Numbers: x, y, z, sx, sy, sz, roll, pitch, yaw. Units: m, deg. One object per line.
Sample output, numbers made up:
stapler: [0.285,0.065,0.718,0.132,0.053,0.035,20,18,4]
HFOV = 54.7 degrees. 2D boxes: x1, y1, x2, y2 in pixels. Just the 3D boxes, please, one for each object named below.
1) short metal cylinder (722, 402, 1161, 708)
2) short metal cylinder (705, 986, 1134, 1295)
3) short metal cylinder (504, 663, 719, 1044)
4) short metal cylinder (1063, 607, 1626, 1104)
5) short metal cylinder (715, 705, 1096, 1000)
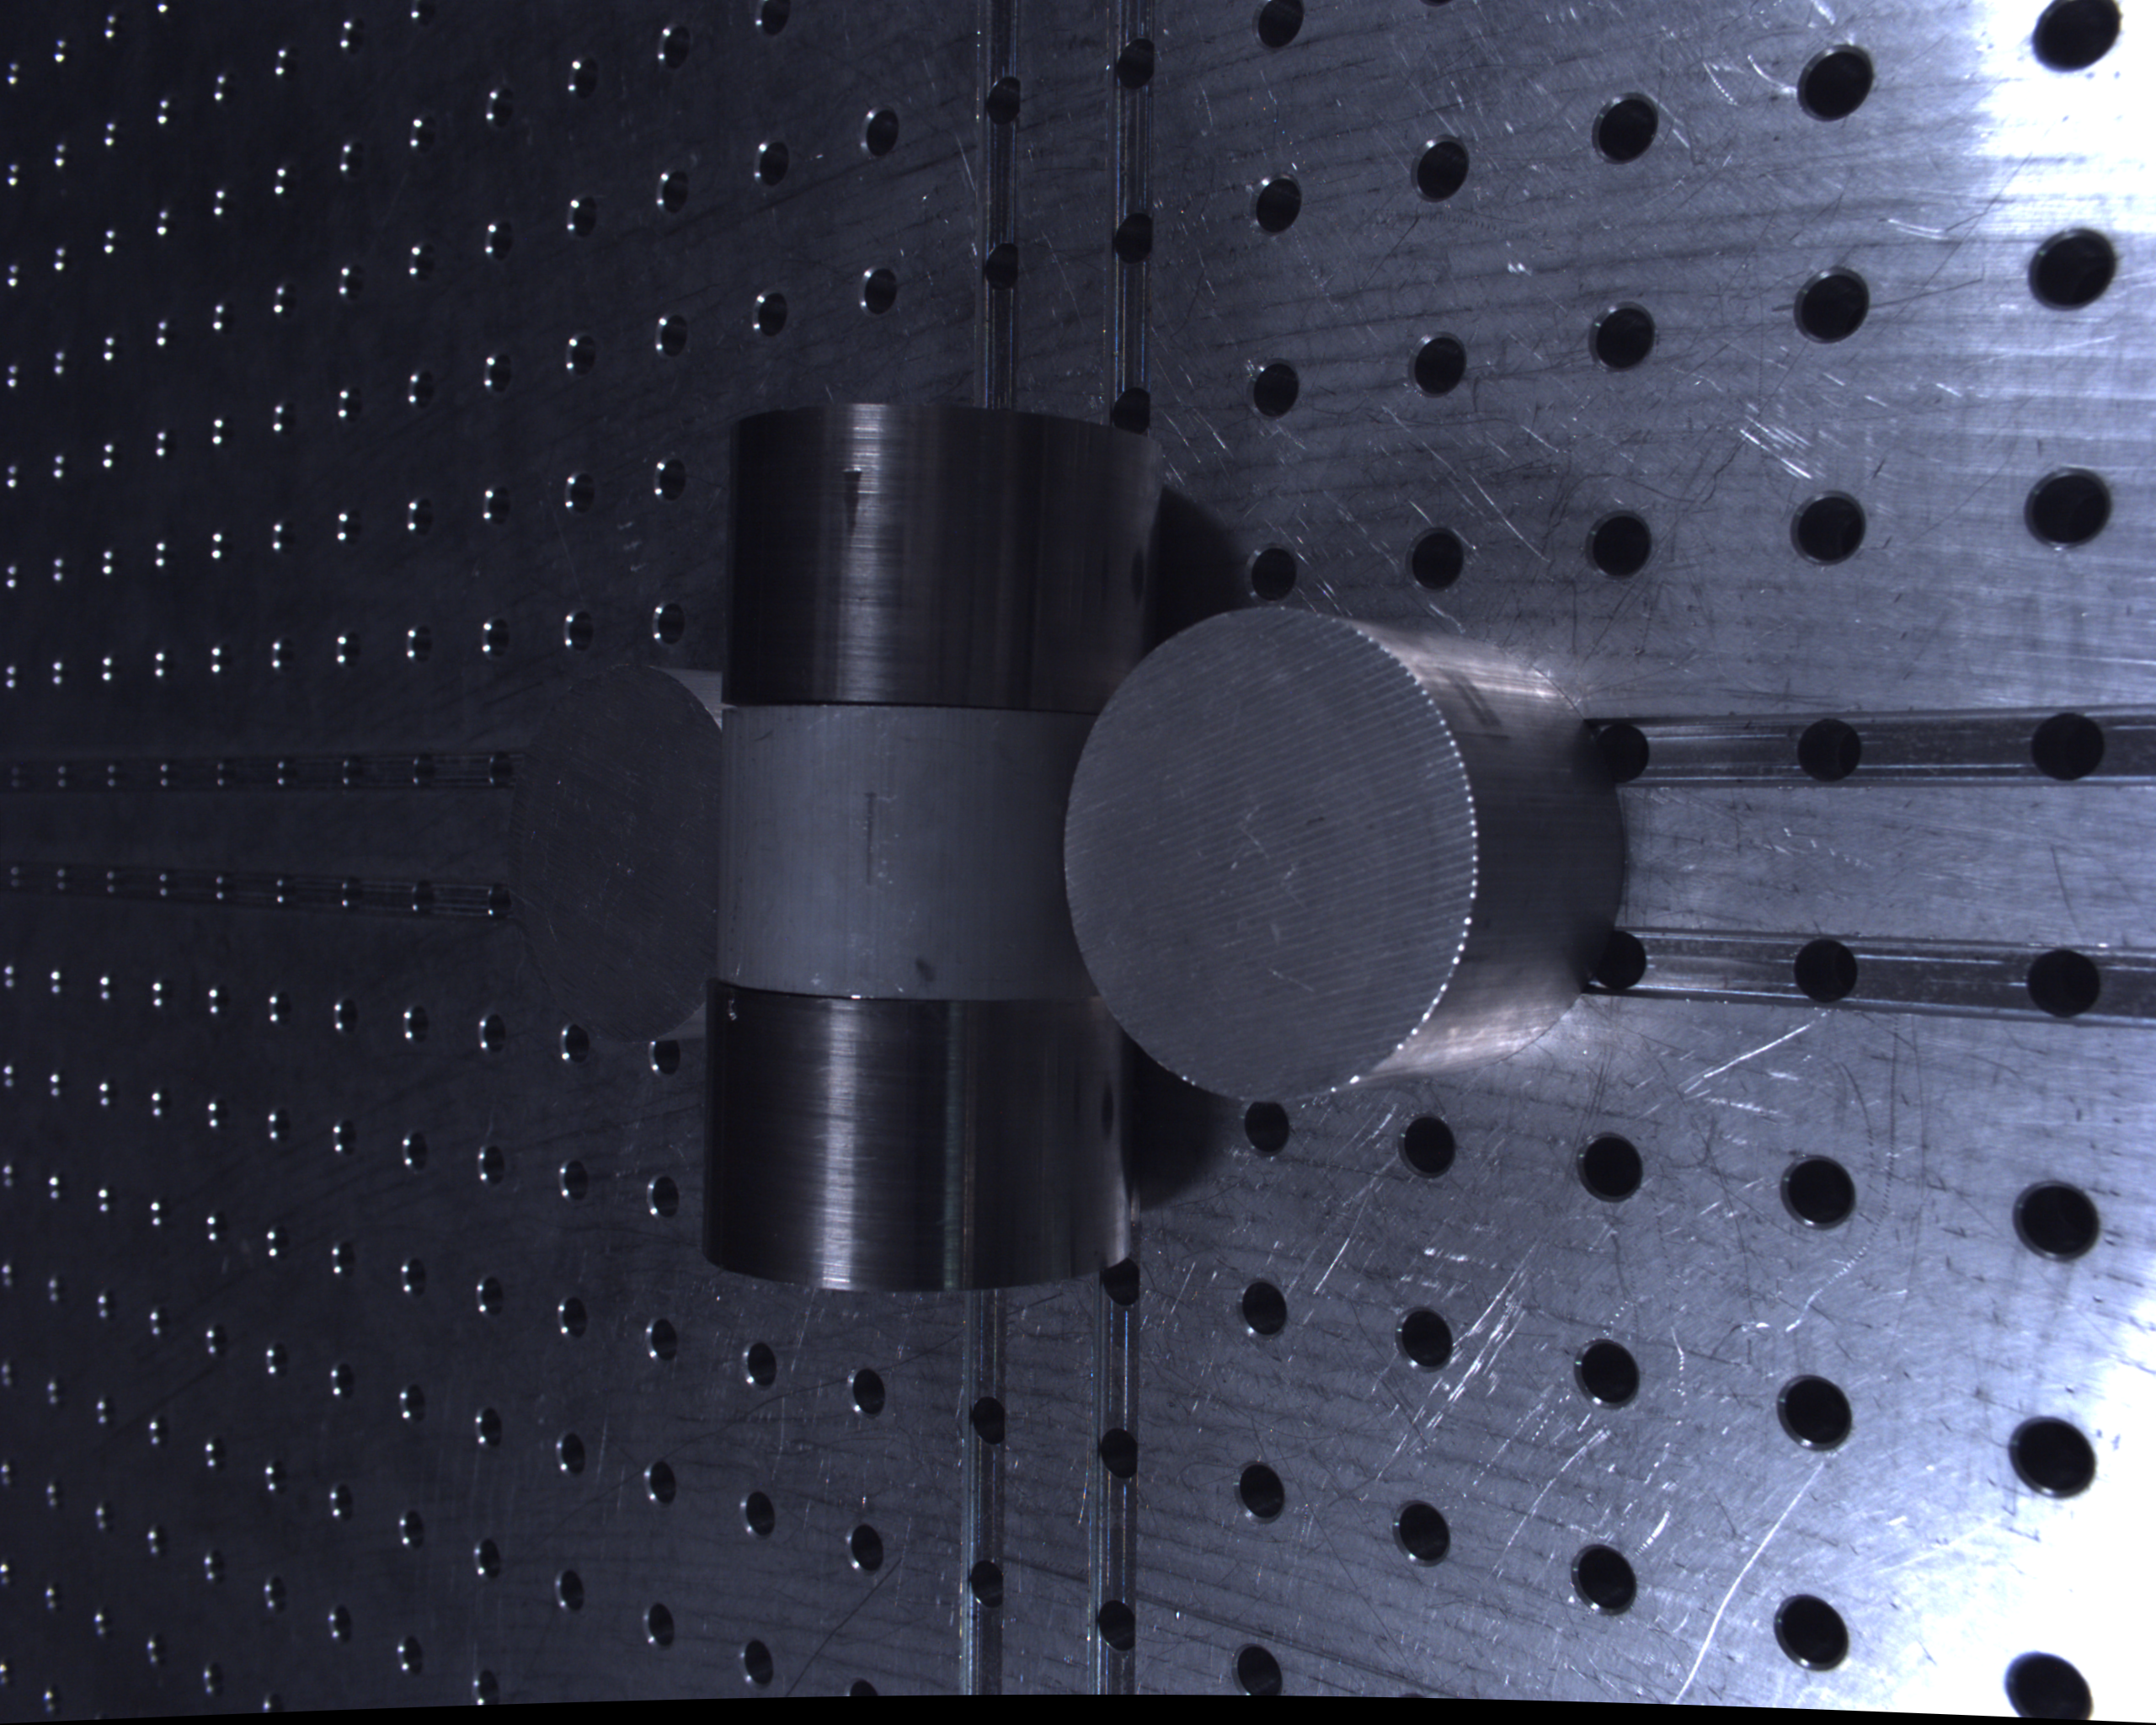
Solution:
short metal cylinder: [-0.026,-0.054,0.392,0.080,0.081,0.050,4,92,39]
short metal cylinder: [-0.030,0.048,0.395,0.080,0.081,0.050,2,91,39]
short metal cylinder: [-0.080,-0.002,0.456,0.080,0.050,0.079,0,90,39]
short metal cylinder: [0.044,-0.001,0.354,0.080,0.050,0.079,0,90,39]
short metal cylinder: [-0.027,-0.003,0.393,0.080,0.081,0.050,3,92,39]
